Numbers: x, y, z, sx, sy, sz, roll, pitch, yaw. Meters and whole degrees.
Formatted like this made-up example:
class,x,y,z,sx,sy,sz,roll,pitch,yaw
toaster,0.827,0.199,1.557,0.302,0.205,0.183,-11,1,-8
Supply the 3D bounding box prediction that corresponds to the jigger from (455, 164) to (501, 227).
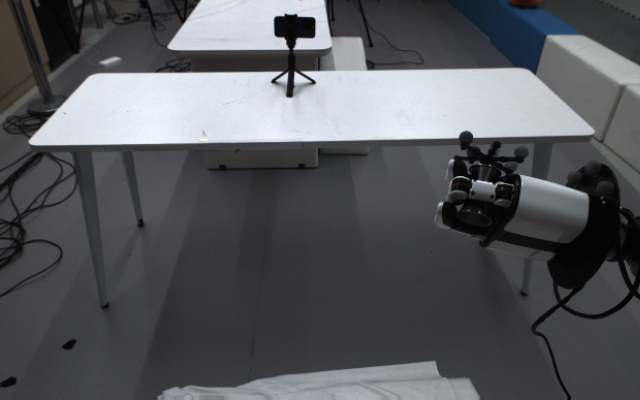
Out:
class,x,y,z,sx,sy,sz,roll,pitch,yaw
jigger,0.202,-0.007,0.612,0.043,0.043,0.071,13,73,15
